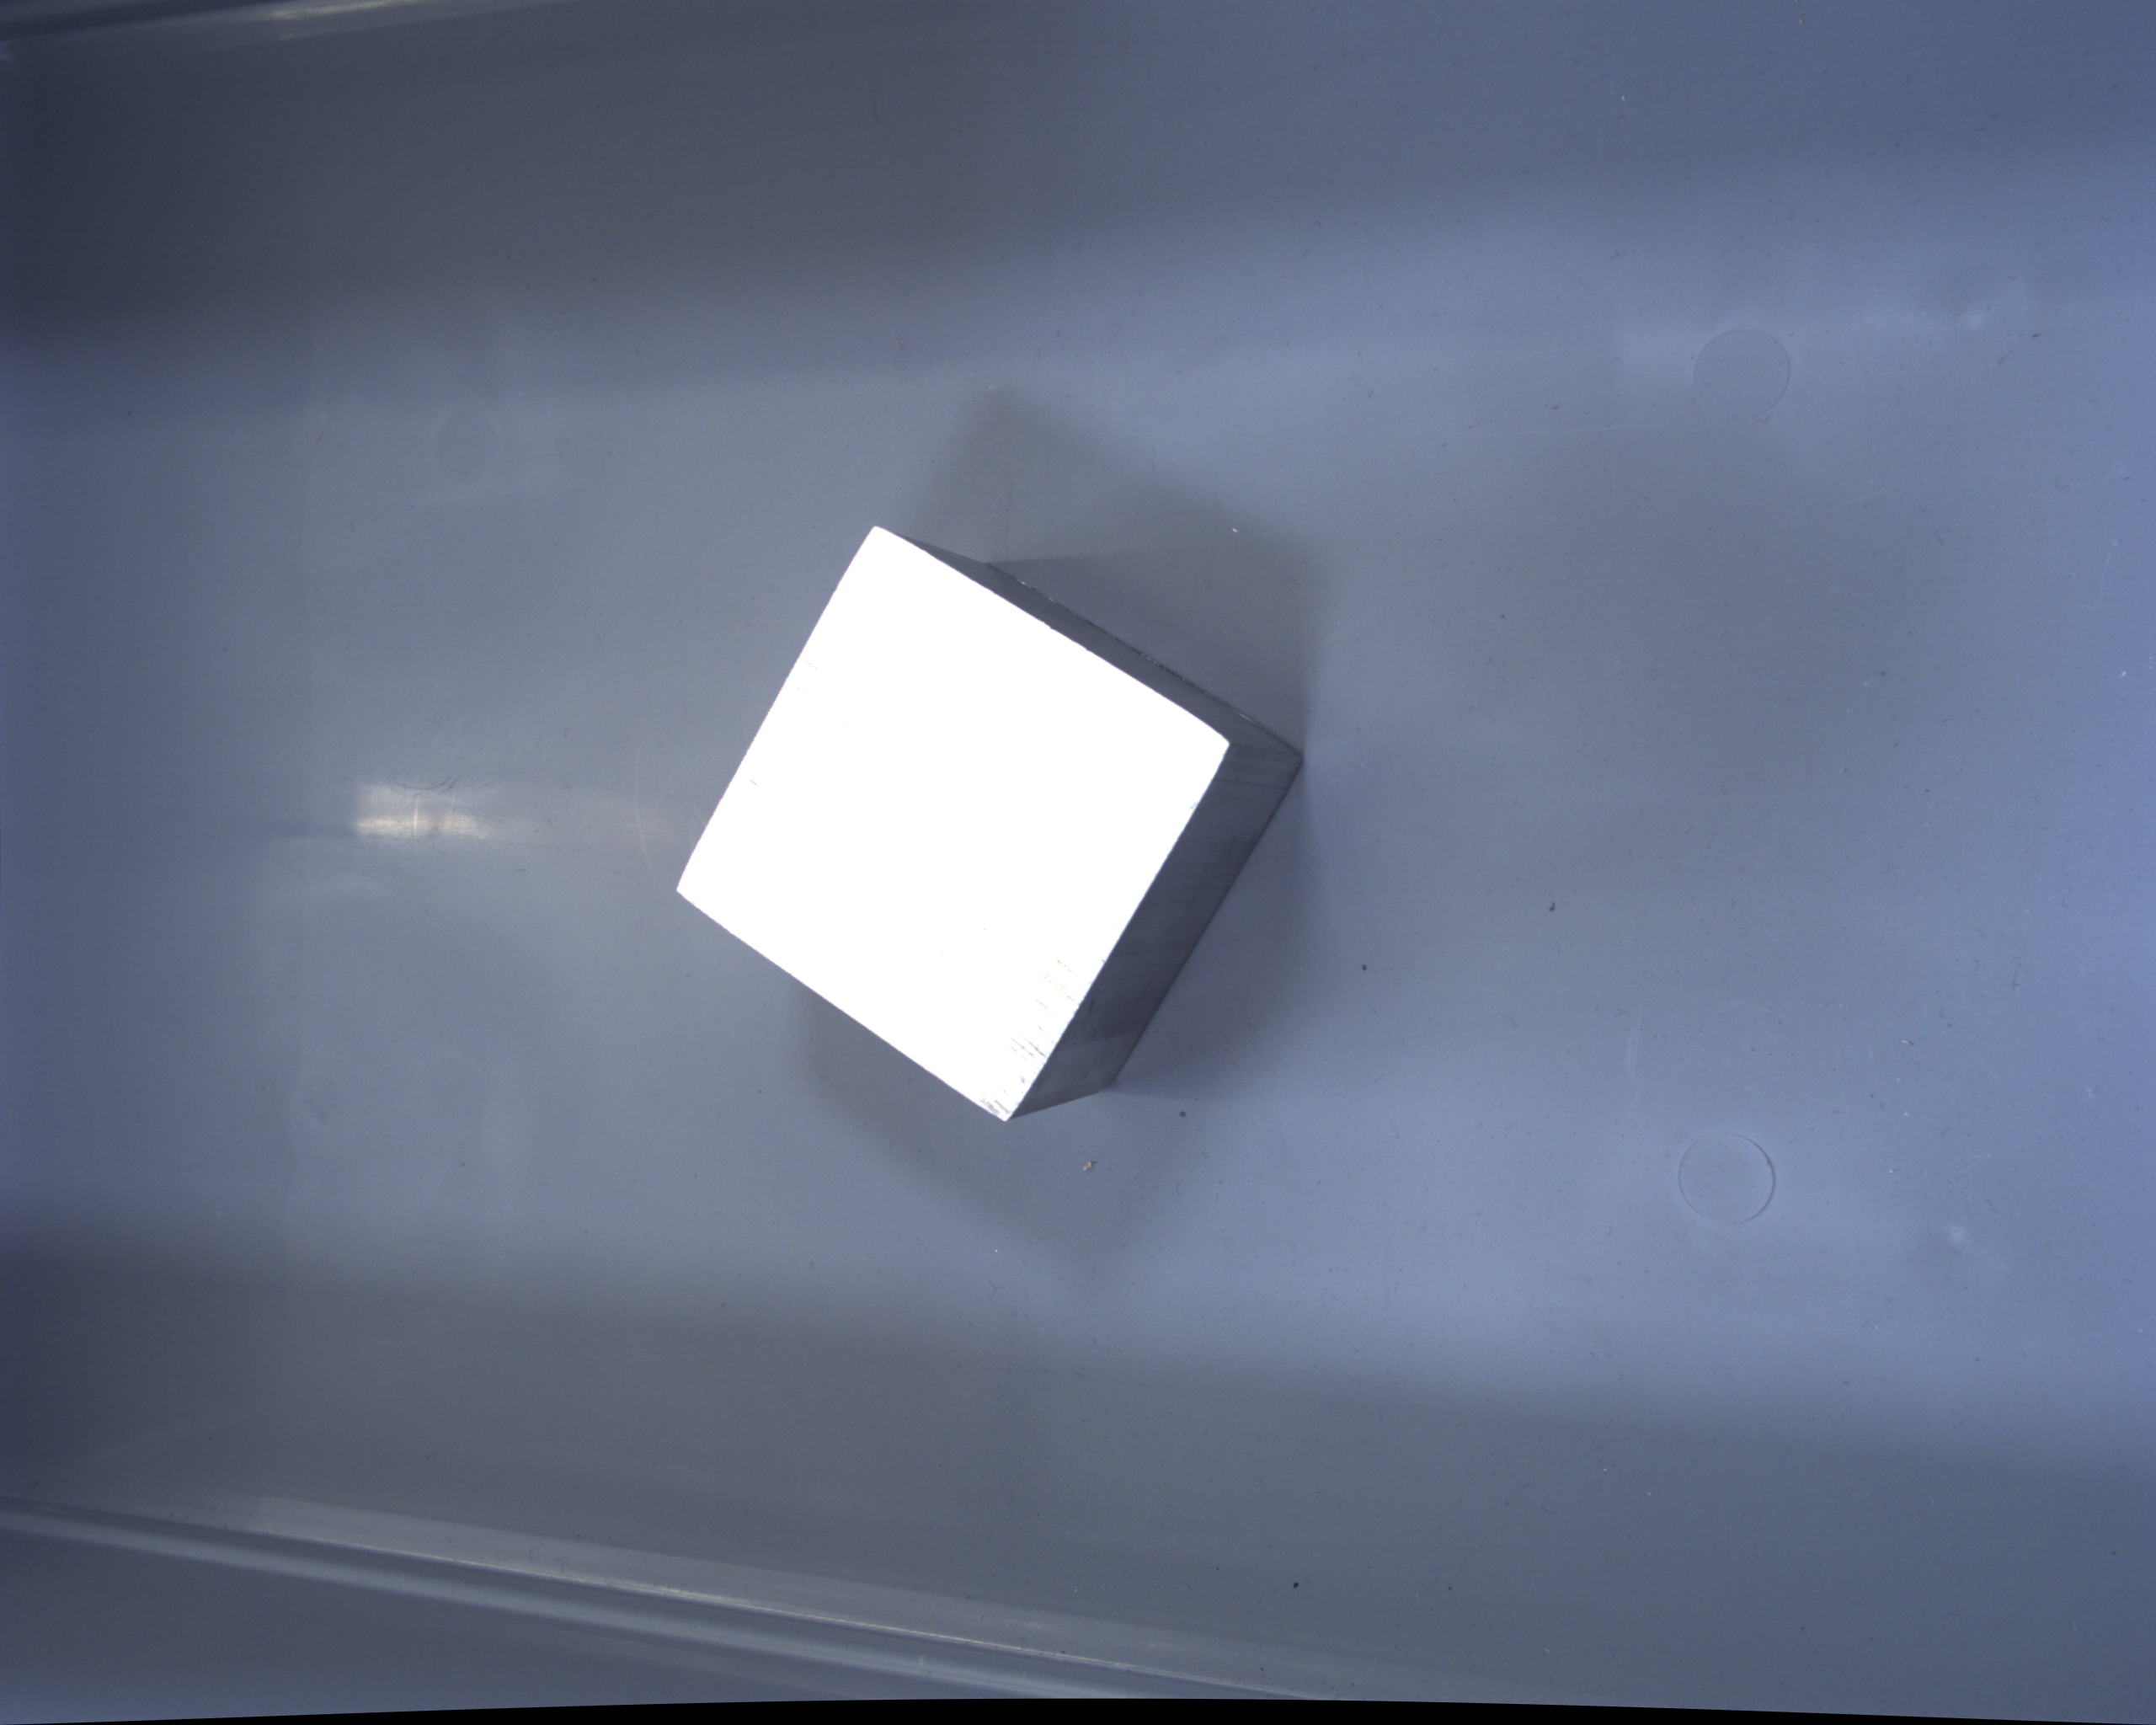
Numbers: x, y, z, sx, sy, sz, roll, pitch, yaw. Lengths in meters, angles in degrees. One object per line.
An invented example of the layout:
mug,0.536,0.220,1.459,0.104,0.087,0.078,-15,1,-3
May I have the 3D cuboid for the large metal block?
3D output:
large metal block,-0.017,-0.008,0.400,0.080,0.050,0.080,33,100,16
